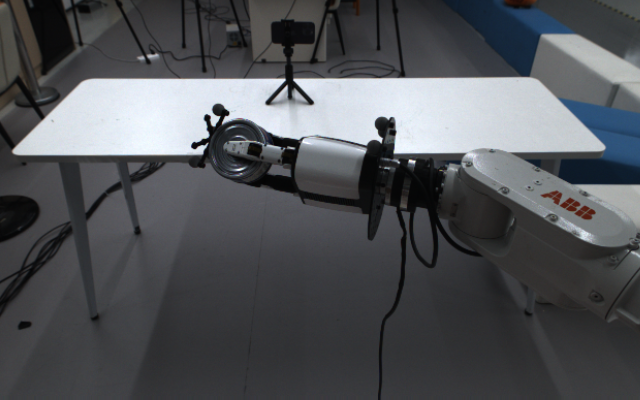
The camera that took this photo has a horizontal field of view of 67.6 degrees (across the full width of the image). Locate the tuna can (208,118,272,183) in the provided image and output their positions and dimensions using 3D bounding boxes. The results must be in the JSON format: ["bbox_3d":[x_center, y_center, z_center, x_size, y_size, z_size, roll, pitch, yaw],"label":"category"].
[{"bbox_3d":[-0.107,-0.068,0.662,0.085,0.085,0.034,12,-4,14],"label":"tuna can"}]
